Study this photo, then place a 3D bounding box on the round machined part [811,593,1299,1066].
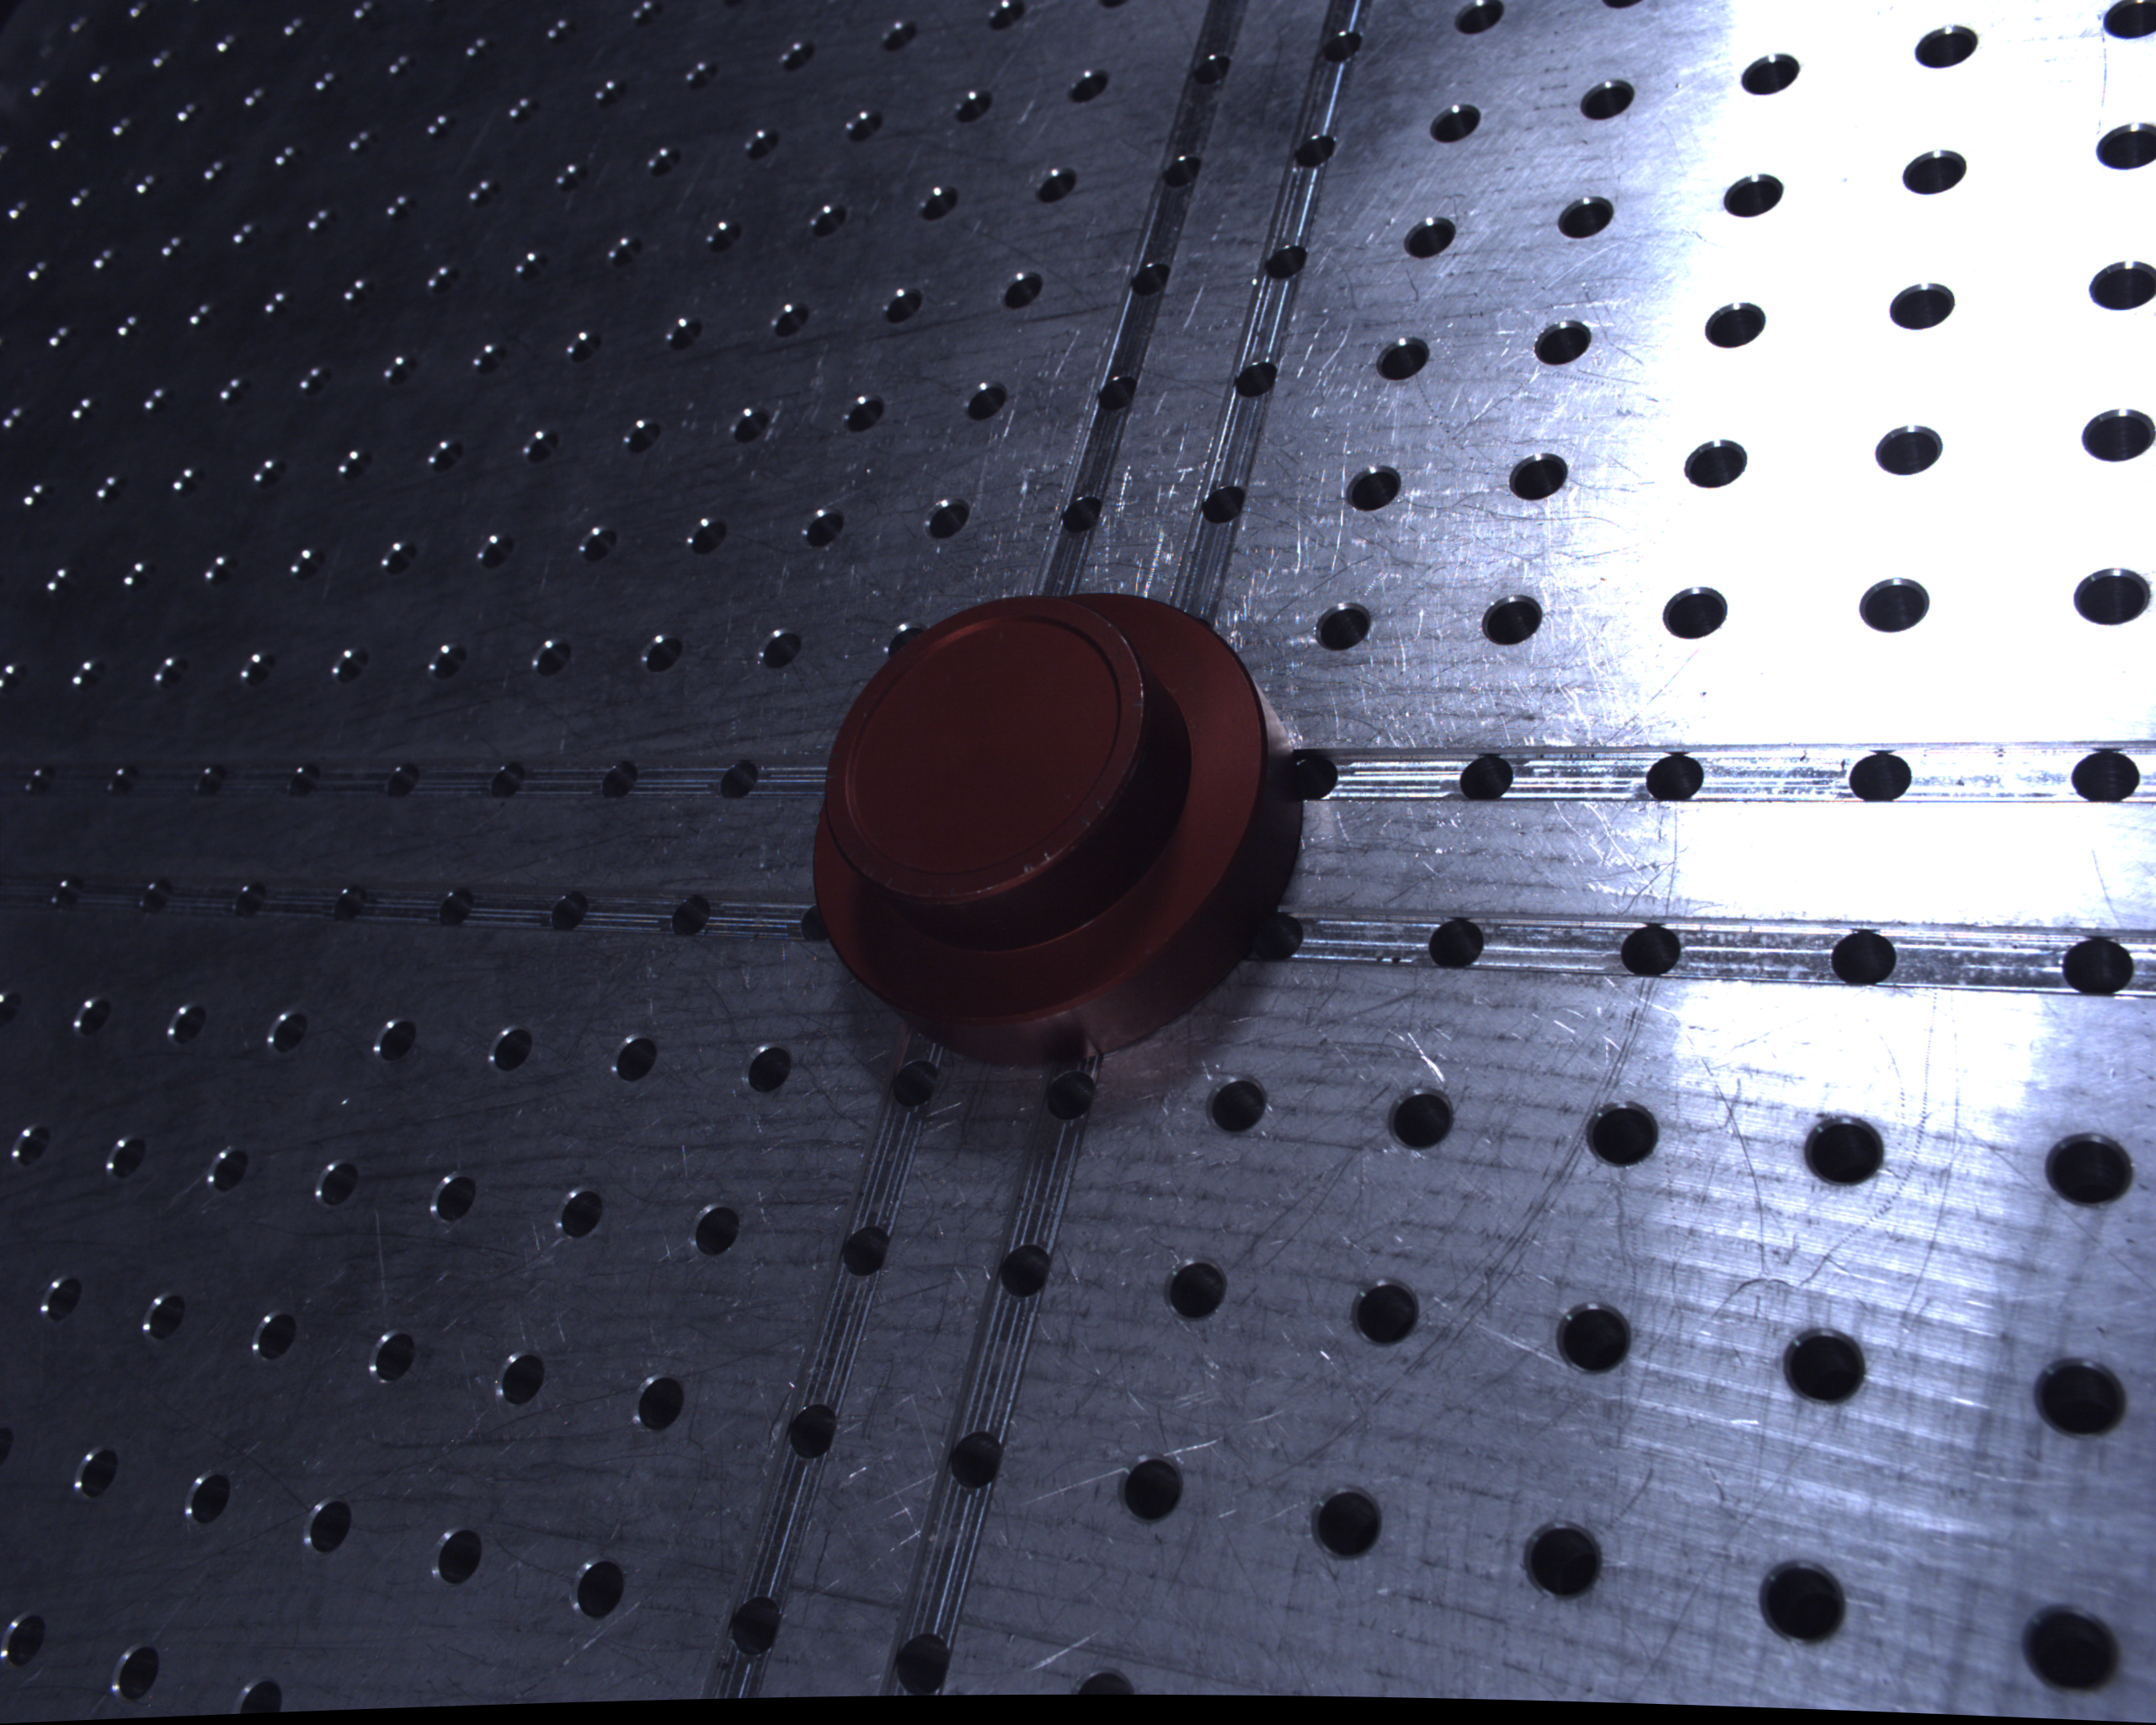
[{"bbox_3d":[-0.010,-0.013,0.409,0.098,0.042,0.098,-13,56,20],"label":"round machined part"}]
